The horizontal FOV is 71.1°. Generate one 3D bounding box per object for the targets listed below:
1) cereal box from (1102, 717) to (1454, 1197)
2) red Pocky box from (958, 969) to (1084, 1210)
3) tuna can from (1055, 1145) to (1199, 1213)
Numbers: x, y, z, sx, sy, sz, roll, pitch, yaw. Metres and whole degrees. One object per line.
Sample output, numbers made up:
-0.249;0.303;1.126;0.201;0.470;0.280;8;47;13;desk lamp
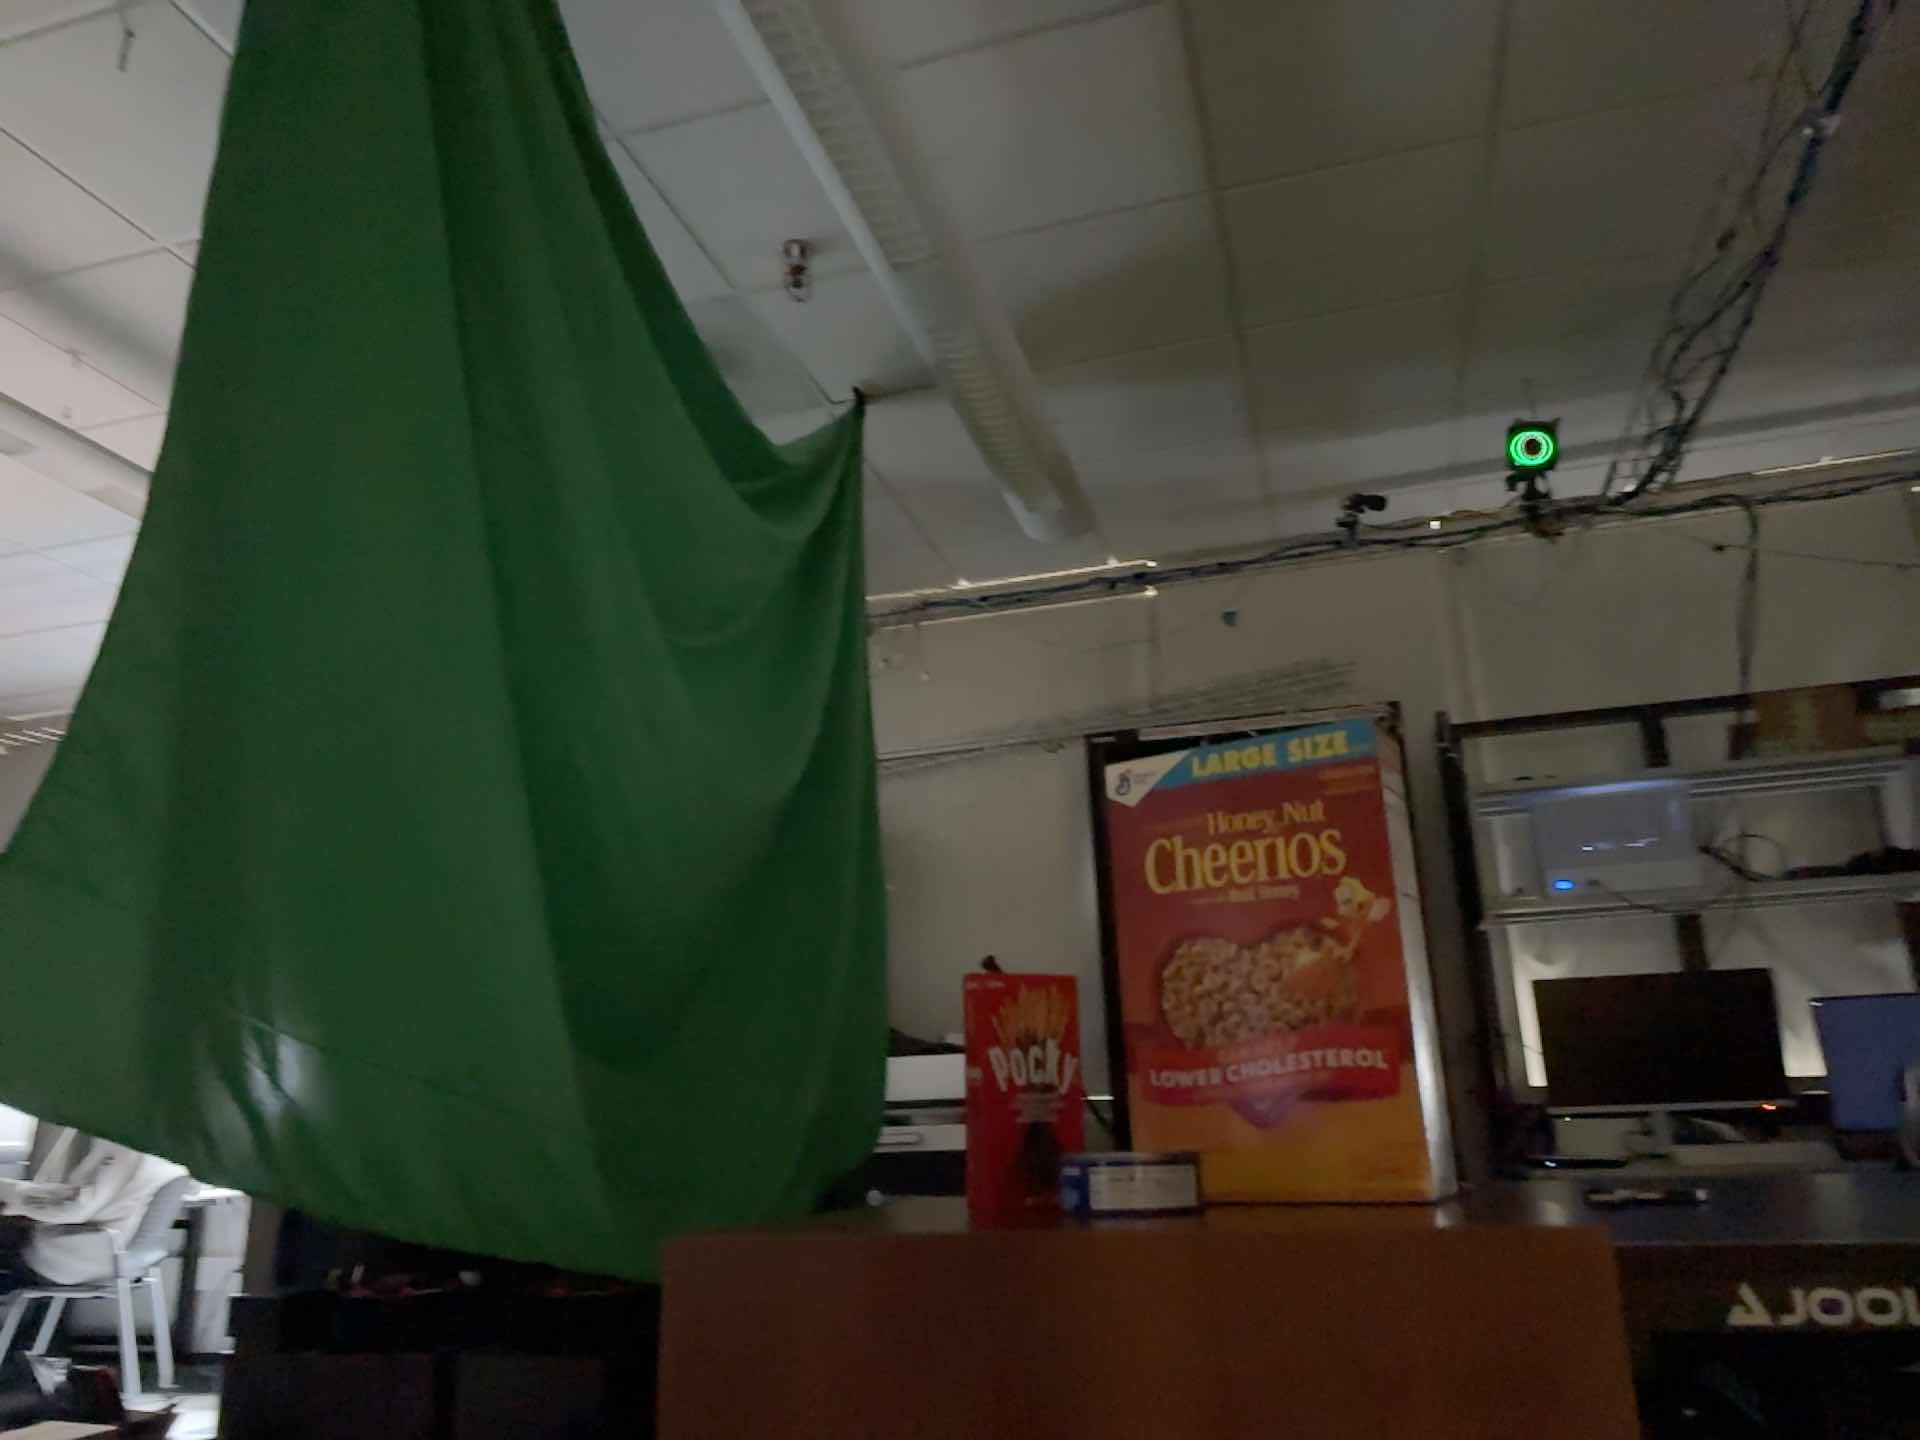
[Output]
0.210;0.165;0.921;0.195;0.297;0.065;-10;-18;28;cereal box
0.041;0.246;0.903;0.083;0.155;0.028;7;-17;-30;red Pocky box
0.100;0.273;0.802;0.083;0.034;0.083;-2;-16;-1;tuna can
